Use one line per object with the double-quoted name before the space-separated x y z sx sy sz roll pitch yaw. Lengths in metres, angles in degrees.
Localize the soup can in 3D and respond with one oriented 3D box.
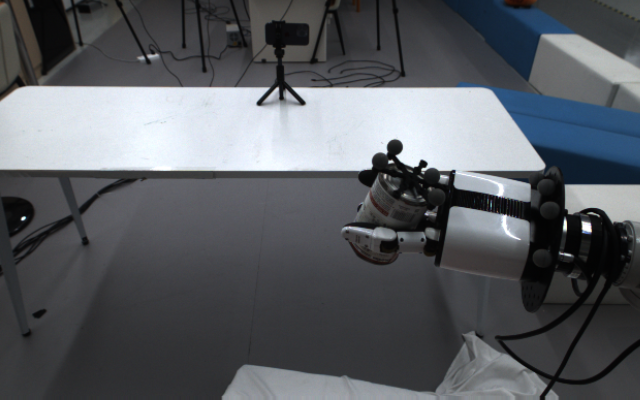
"soup can" 0.081 0.016 0.556 0.067 0.101 0.067 14 39 -12
